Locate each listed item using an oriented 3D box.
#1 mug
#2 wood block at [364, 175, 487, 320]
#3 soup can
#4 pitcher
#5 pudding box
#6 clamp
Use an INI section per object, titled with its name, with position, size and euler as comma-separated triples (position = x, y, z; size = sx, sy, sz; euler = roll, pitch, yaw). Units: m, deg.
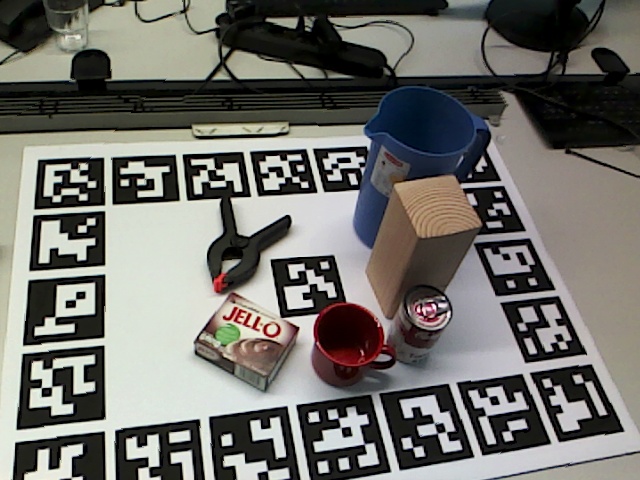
[mug]
position = 0.043, 0.149, 0.824
size = 0.117, 0.081, 0.093
euler = 24, 51, 11
[wood block]
position = 0.139, 0.016, 0.860
size = 0.089, 0.206, 0.091
euler = -5, 53, -17
[soup can]
position = 0.131, 0.120, 0.845
size = 0.068, 0.102, 0.068
euler = 4, 55, -6
[pitcher]
position = 0.143, -0.092, 0.925
size = 0.188, 0.242, 0.134
euler = -6, 52, -10
[pudding box]
position = -0.107, 0.135, 0.843
size = 0.114, 0.038, 0.090
euler = 25, 56, 12
[clamp]
position = -0.116, 0.009, 0.946
size = 0.122, 0.036, 0.165
euler = 23, 53, 0
